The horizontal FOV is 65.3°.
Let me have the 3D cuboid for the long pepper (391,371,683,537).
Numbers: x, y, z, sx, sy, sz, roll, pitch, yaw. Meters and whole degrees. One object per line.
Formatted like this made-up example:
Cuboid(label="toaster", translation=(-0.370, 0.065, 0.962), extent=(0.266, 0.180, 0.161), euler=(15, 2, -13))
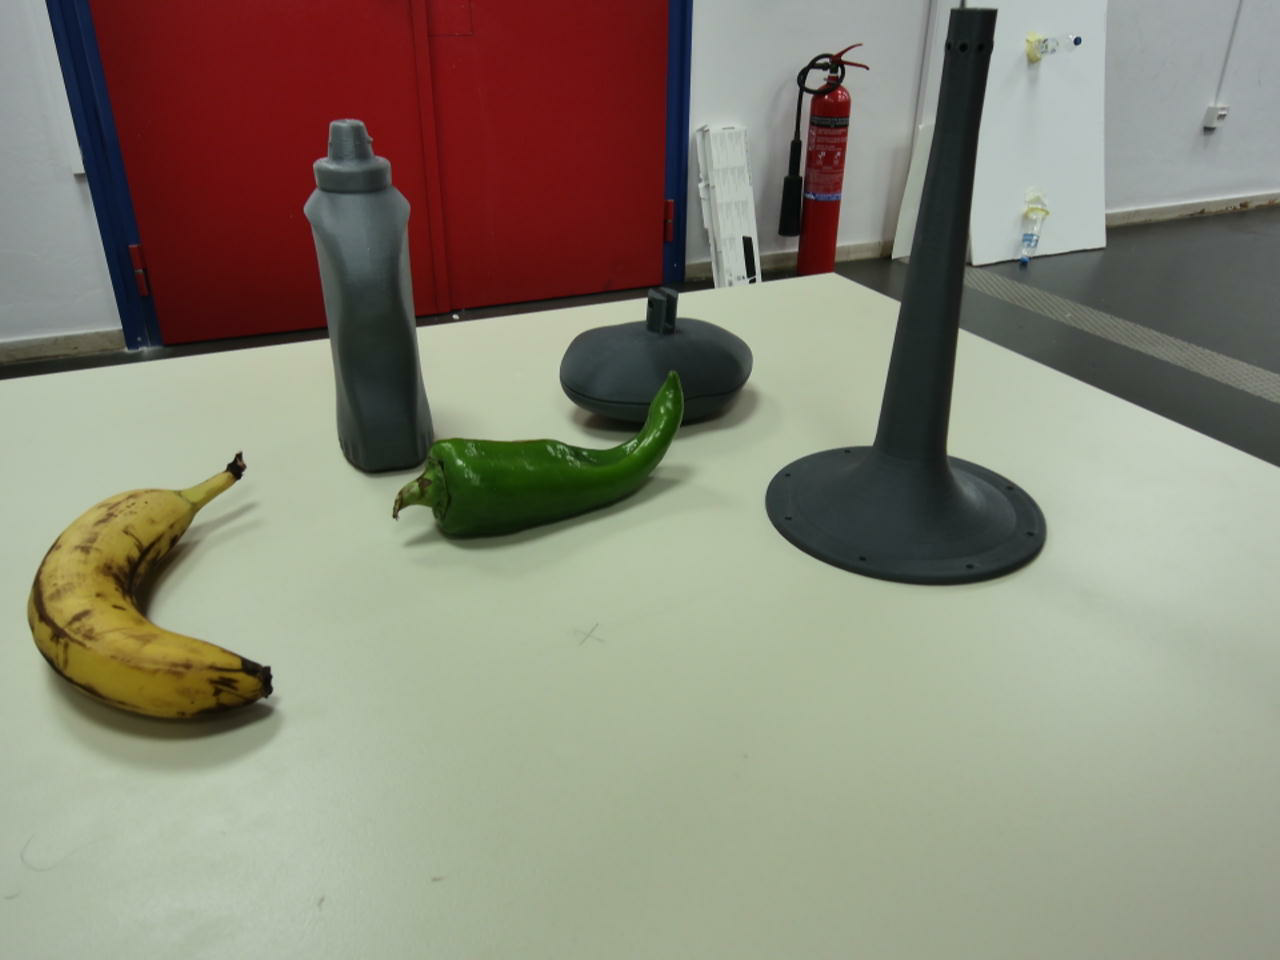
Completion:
Cuboid(label="long pepper", translation=(-0.049, -0.013, 0.539), extent=(0.175, 0.065, 0.058), euler=(-12, 28, -24))
